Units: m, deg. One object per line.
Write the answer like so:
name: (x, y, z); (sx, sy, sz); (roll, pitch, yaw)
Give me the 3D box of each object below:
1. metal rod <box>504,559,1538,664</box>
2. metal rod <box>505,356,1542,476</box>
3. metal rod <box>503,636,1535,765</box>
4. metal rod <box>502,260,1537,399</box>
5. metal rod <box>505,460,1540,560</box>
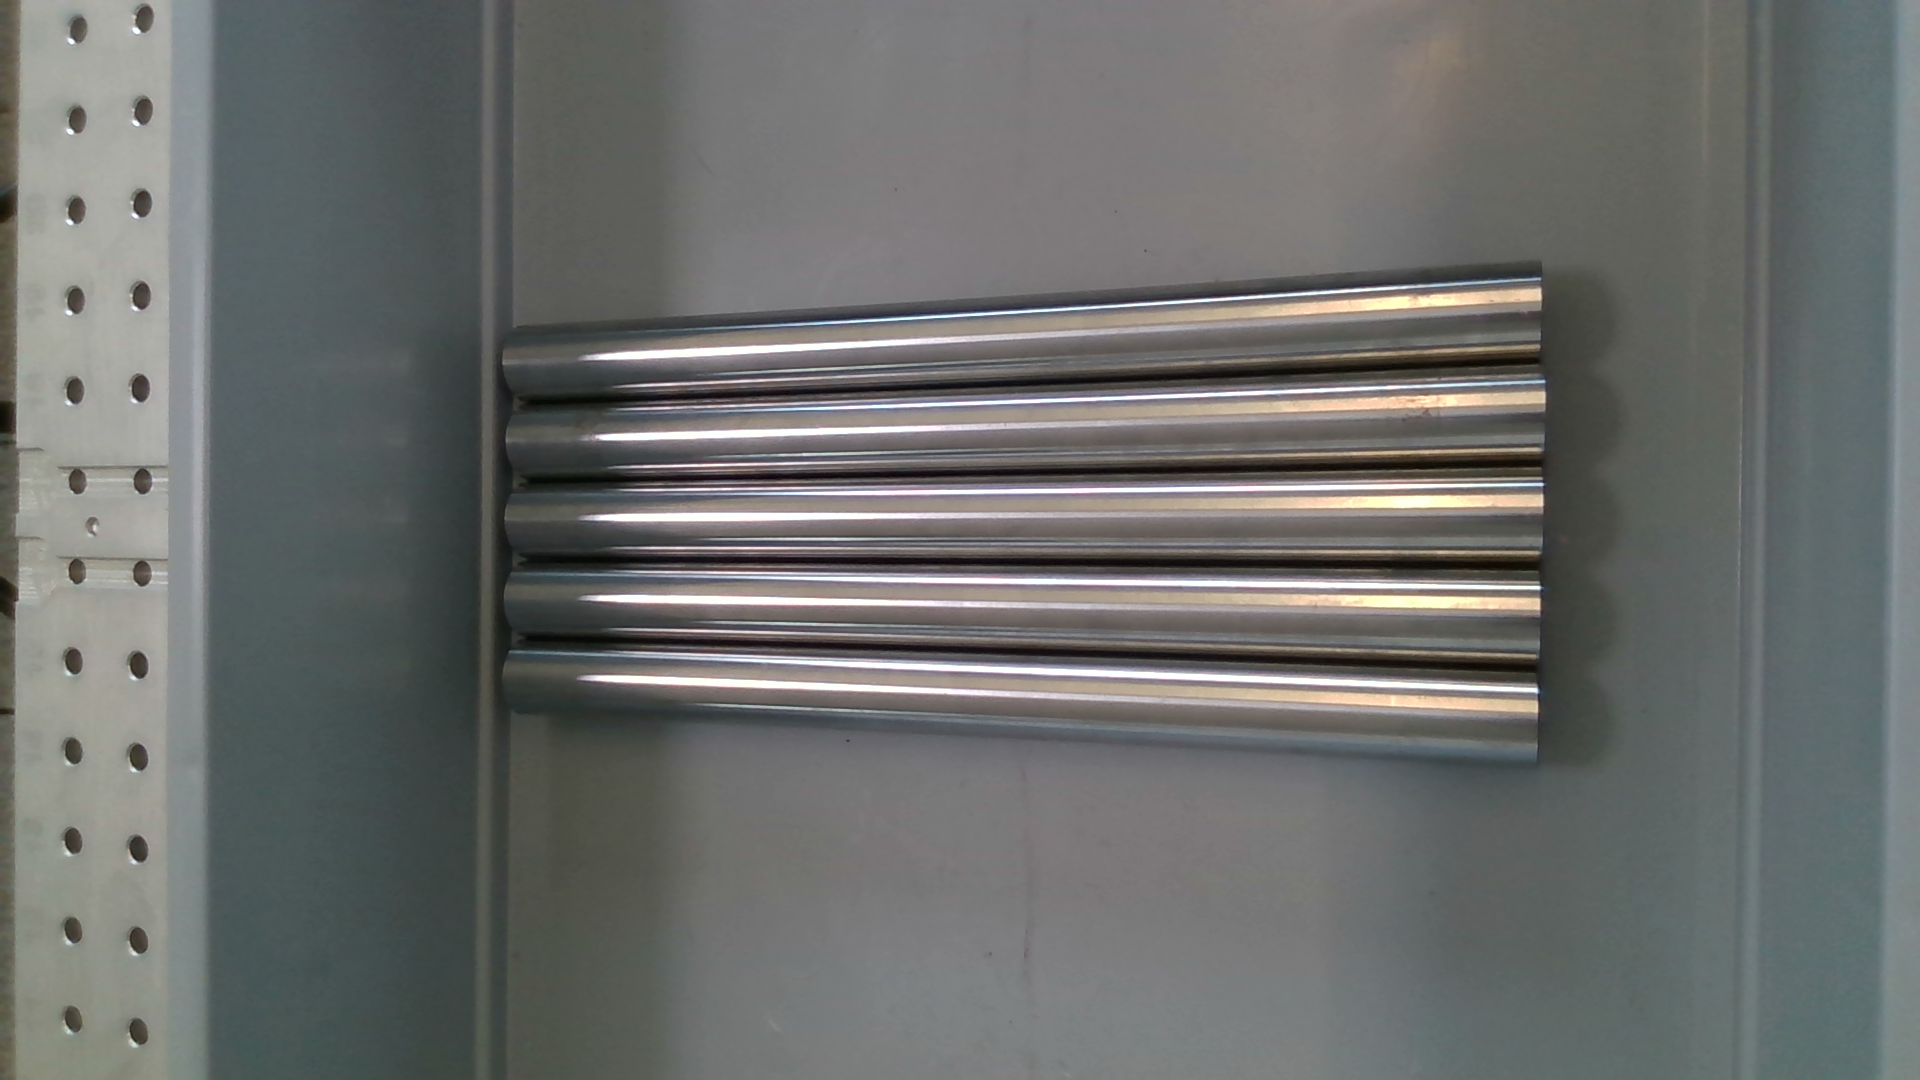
metal rod: (0.002, 0.018, 0.393); (0.300, 0.025, 0.025); (0, 90, 20)
metal rod: (0.002, -0.033, 0.392); (0.300, 0.025, 0.025); (0, 90, 20)
metal rod: (0.001, 0.043, 0.393); (0.300, 0.025, 0.025); (0, 90, 20)
metal rod: (0.001, -0.057, 0.392); (0.300, 0.025, 0.025); (0, 90, 20)
metal rod: (0.002, -0.007, 0.392); (0.300, 0.025, 0.025); (0, 90, 20)
